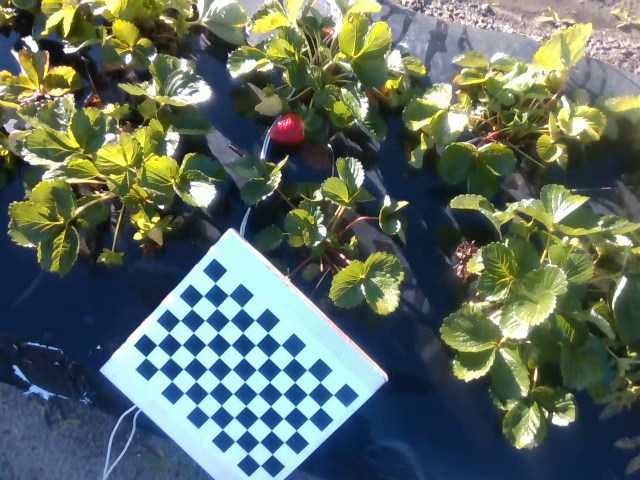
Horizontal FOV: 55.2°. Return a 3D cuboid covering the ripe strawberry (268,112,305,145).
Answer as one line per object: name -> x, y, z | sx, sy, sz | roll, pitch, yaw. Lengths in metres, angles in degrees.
ripe strawberry -> -0.051, -0.183, 0.986 | 0.080, 0.063, 0.040 | -24, 10, -33
